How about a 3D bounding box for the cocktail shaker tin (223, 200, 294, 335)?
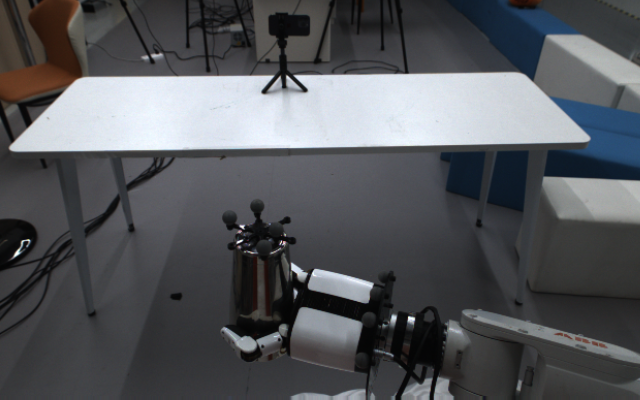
[{"bbox_3d":[-0.074,0.115,0.622,0.093,0.170,0.093,3,34,-2],"label":"cocktail shaker tin"}]
